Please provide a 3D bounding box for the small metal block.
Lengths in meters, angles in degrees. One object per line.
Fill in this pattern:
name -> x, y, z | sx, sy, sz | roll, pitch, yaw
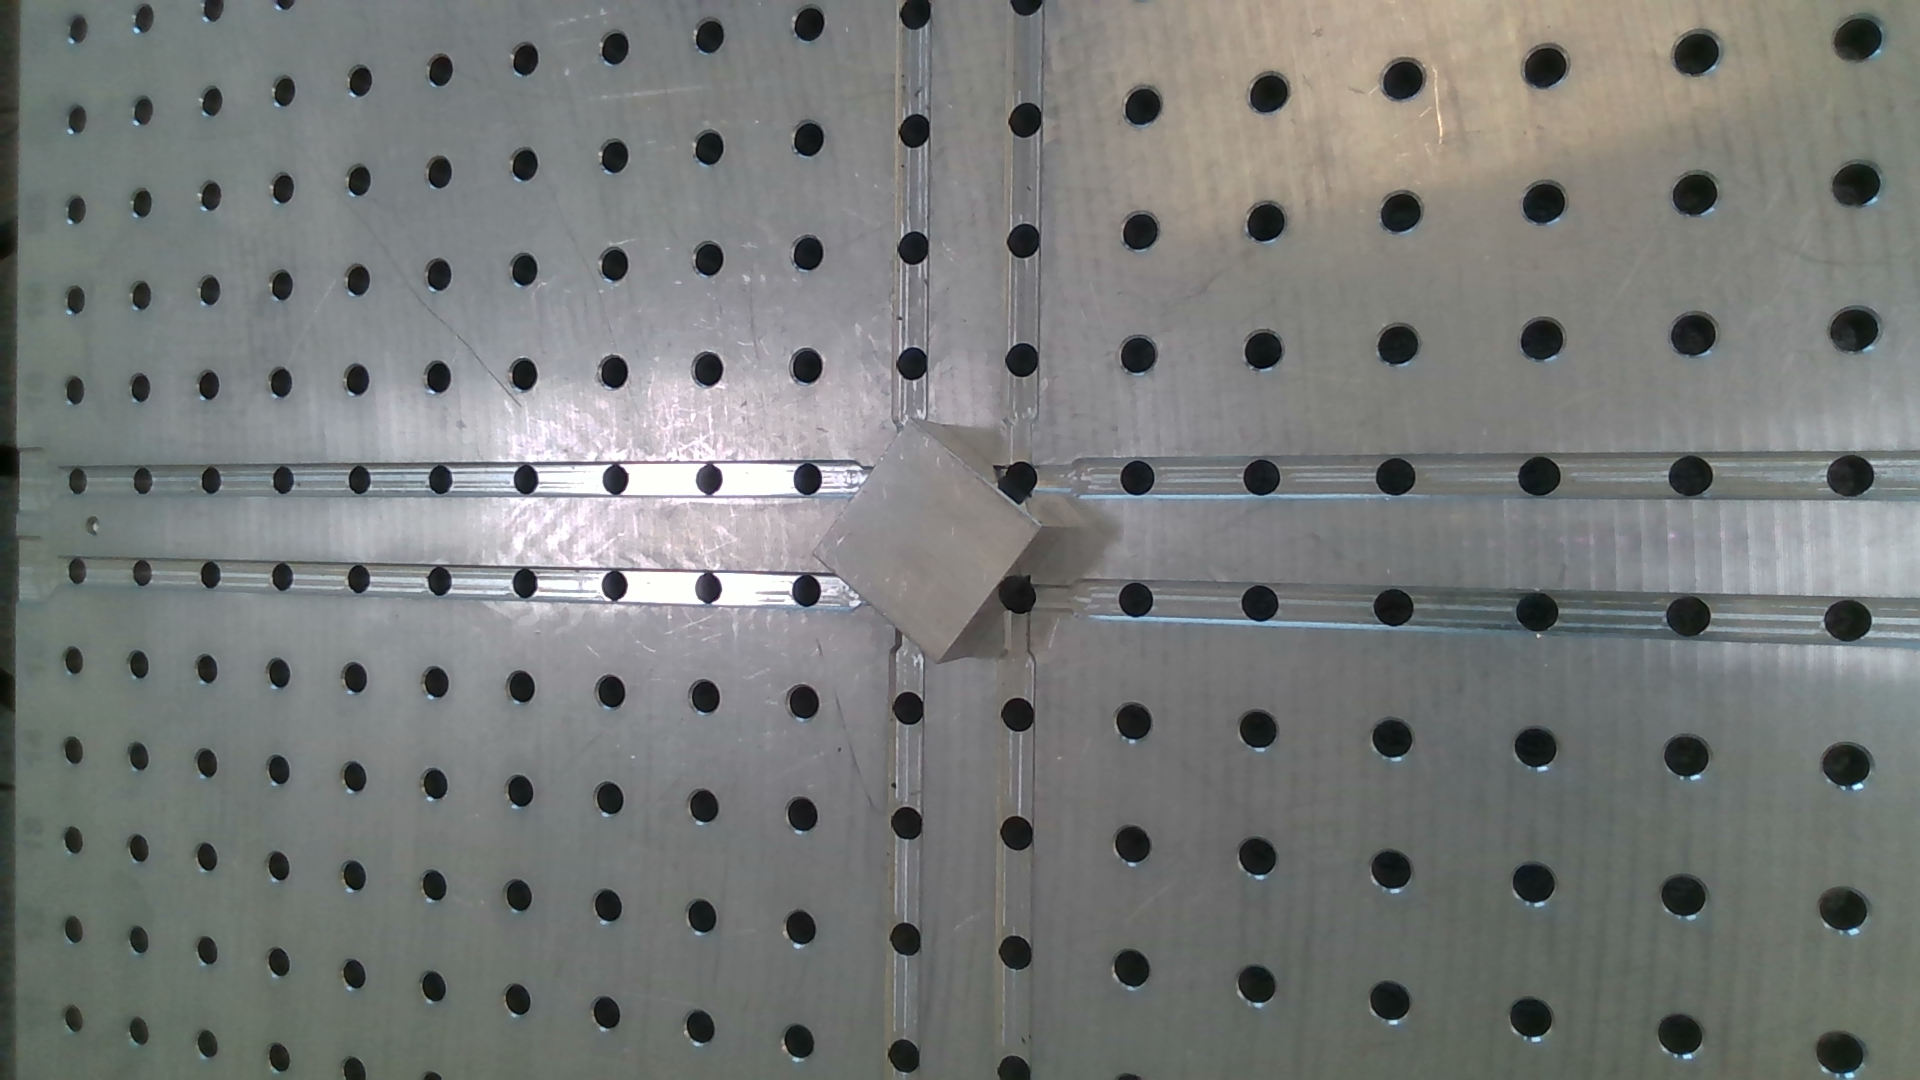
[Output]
small metal block -> -0.006, 0.000, 0.399 | 0.050, 0.025, 0.050 | 40, 103, 16
